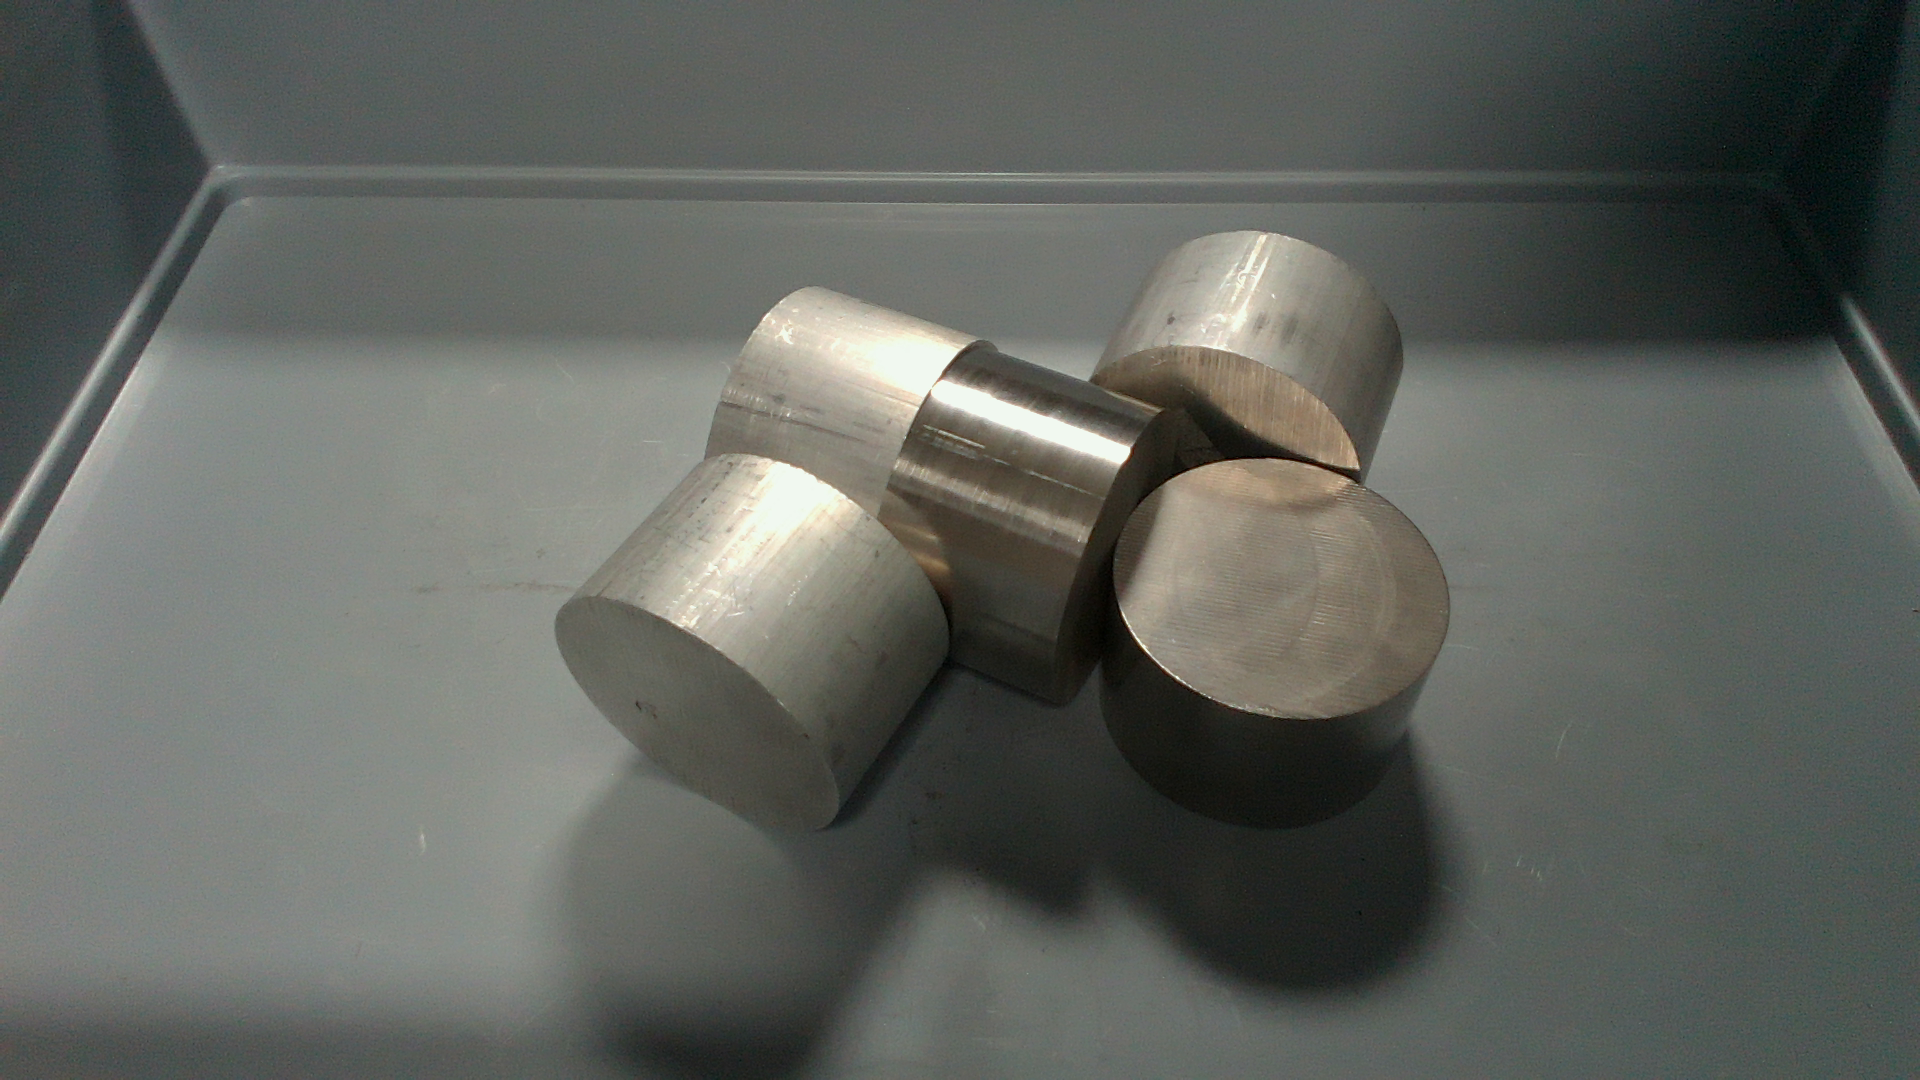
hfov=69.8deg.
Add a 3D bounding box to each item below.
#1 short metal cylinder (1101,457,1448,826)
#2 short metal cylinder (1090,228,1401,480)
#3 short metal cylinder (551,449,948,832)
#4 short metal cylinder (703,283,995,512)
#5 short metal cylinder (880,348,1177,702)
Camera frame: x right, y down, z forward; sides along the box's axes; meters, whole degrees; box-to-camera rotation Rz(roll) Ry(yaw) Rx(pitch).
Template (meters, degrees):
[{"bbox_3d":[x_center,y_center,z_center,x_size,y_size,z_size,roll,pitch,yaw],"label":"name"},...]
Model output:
[{"bbox_3d":[0.077,0.025,0.352,0.080,0.050,0.080,0,50,0],"label":"short metal cylinder"},{"bbox_3d":[0.078,-0.039,0.387,0.080,0.080,0.050,18,52,15],"label":"short metal cylinder"},{"bbox_3d":[-0.050,0.025,0.333,0.080,0.080,0.050,23,54,19],"label":"short metal cylinder"},{"bbox_3d":[-0.027,-0.024,0.374,0.050,0.080,0.080,20,53,16],"label":"short metal cylinder"},{"bbox_3d":[0.018,-0.004,0.358,0.050,0.080,0.080,21,53,17],"label":"short metal cylinder"}]
